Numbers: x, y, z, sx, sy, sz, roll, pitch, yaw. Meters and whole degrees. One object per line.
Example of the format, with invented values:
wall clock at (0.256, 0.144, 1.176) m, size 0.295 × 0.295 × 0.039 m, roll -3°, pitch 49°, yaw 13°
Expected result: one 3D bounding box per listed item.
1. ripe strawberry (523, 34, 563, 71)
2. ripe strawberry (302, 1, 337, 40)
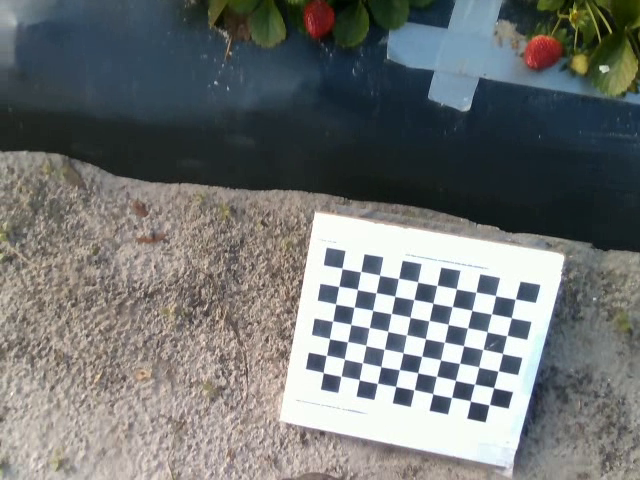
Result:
ripe strawberry at (0.115, -0.099, 0.384) m, size 0.023 × 0.026 × 0.021 m, roll 23°, pitch -30°, yaw 27°
ripe strawberry at (-0.003, -0.119, 0.389) m, size 0.018 × 0.023 × 0.021 m, roll 3°, pitch -20°, yaw 22°
